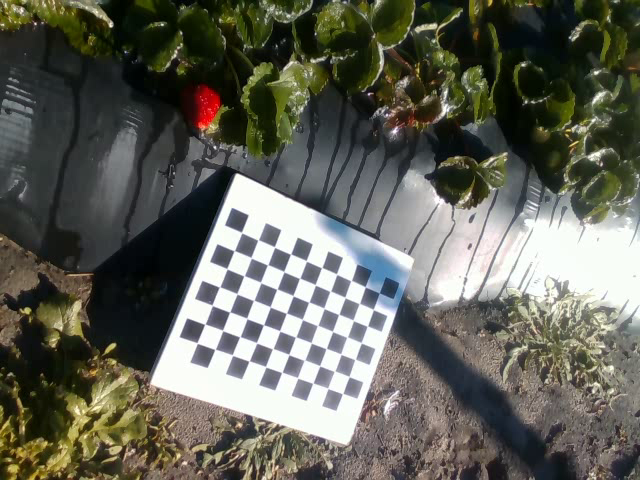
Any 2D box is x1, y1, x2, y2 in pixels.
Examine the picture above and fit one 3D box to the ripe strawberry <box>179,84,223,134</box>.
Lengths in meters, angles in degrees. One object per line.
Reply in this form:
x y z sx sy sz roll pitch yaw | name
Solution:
-0.112 -0.124 0.588 0.042 0.052 0.047 17 -44 -25 | ripe strawberry
